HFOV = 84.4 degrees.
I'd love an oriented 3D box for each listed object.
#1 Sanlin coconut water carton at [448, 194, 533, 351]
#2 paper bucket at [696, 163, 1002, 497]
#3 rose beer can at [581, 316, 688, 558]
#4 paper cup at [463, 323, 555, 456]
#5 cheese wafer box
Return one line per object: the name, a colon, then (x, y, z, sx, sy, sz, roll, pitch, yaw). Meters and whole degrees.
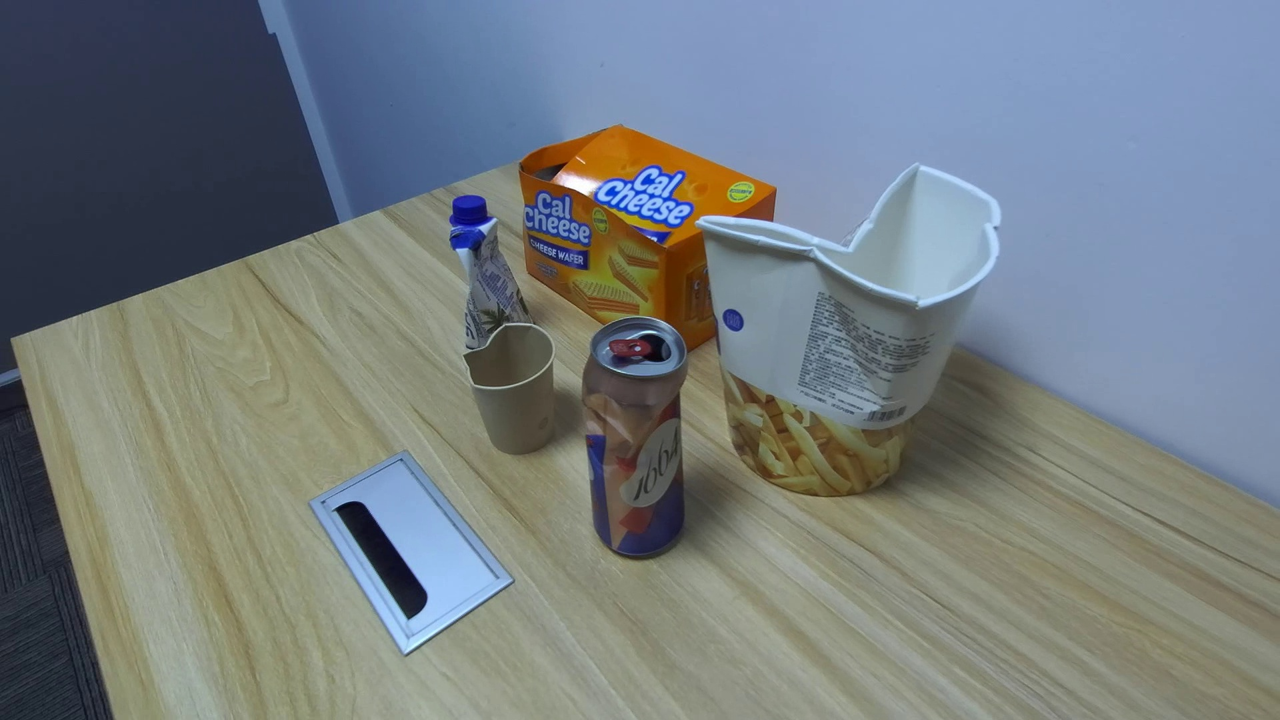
Sanlin coconut water carton: (-0.146, -0.071, 0.632, 0.056, 0.145, 0.068, 5, 46, 21)
paper bucket: (0.149, -0.024, 0.519, 0.168, 0.202, 0.163, 29, 48, 28)
rose beer can: (0.000, 0.056, 0.456, 0.065, 0.167, 0.076, 27, 44, 28)
paper cup: (-0.097, 0.027, 0.561, 0.069, 0.081, 0.073, -14, 40, -12)
cheese wafer box: (-0.001, -0.122, 0.692, 0.153, 0.132, 0.229, -32, 48, -30)
